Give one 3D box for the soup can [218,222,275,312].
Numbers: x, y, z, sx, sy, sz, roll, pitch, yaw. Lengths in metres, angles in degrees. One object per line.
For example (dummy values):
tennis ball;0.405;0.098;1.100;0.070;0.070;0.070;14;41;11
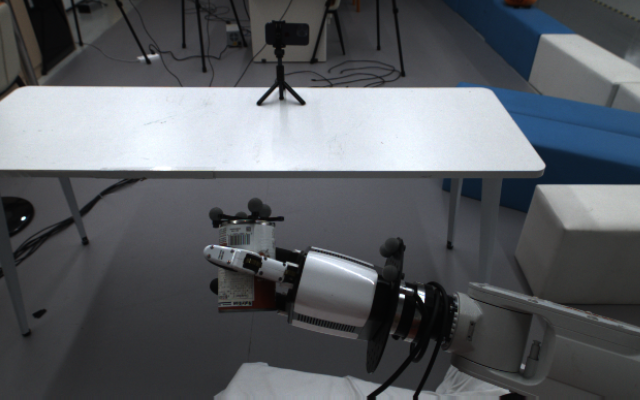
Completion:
soup can;-0.082;0.080;0.564;0.067;0.067;0.101;-1;77;-5
